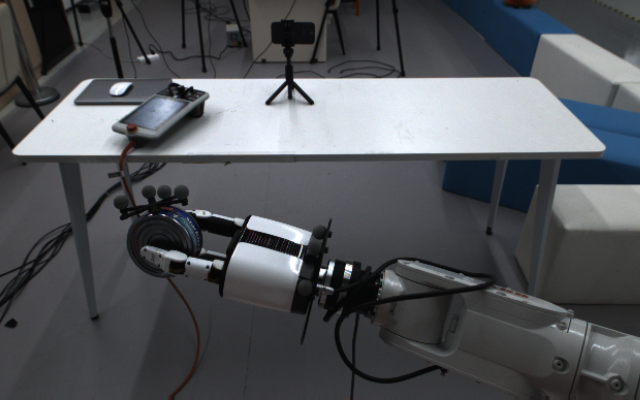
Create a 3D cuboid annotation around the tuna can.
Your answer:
[{"bbox_3d":[-0.188,0.059,0.594,0.085,0.085,0.034,6,18,5],"label":"tuna can"}]
